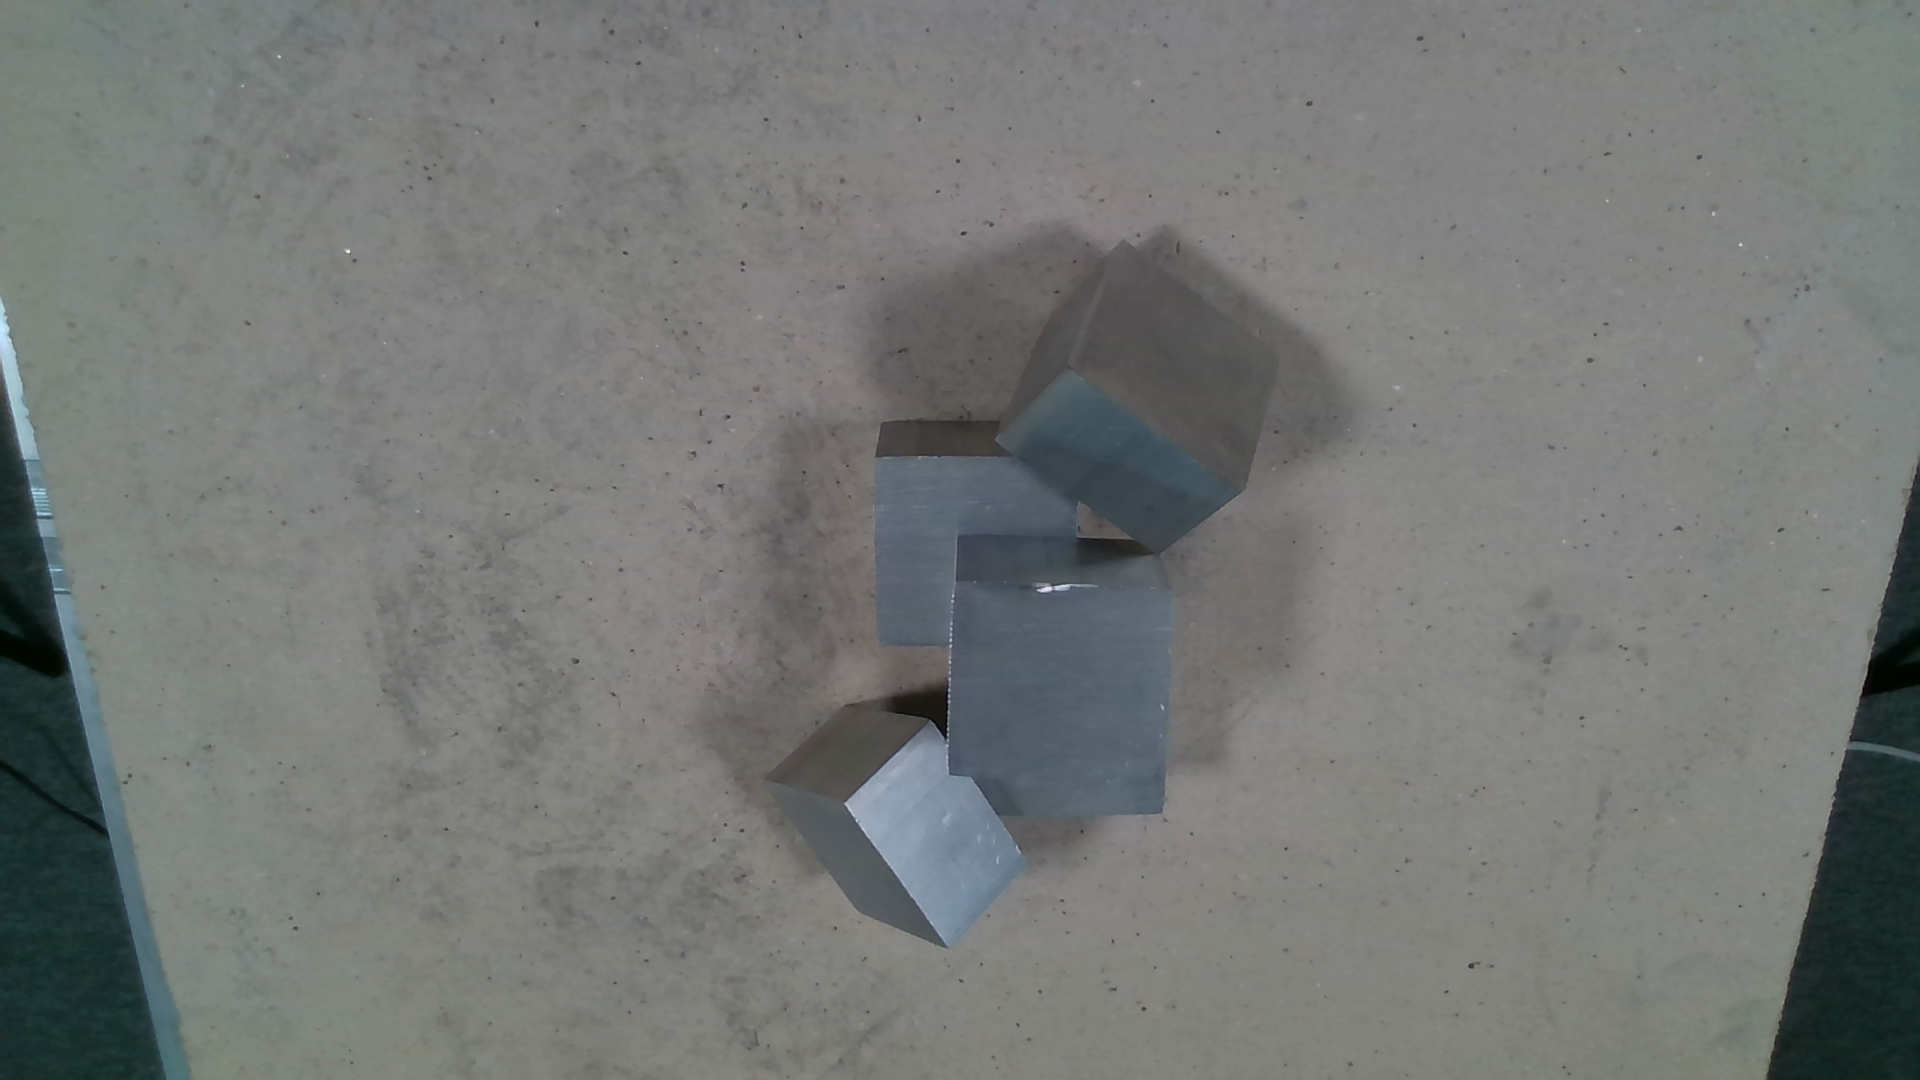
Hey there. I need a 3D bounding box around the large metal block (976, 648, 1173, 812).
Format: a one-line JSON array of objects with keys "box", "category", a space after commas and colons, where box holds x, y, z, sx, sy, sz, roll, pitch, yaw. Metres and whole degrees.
[{"box": [0.047, 0.070, 0.598, 0.080, 0.050, 0.080, 0, 110, 0], "category": "large metal block"}]

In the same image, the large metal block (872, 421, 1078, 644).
[{"box": [0.006, -0.004, 0.568, 0.080, 0.050, 0.080, 0, 110, 0], "category": "large metal block"}]

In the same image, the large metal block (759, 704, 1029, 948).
[{"box": [-0.029, 0.120, 0.593, 0.050, 0.080, 0.080, -42, 109, -26], "category": "large metal block"}]

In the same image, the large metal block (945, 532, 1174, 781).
[{"box": [0.036, 0.044, 0.532, 0.080, 0.050, 0.080, 2, 110, -1], "category": "large metal block"}]

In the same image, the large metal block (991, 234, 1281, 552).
[{"box": [0.069, -0.056, 0.527, 0.080, 0.080, 0.050, 34, 140, -12], "category": "large metal block"}]
